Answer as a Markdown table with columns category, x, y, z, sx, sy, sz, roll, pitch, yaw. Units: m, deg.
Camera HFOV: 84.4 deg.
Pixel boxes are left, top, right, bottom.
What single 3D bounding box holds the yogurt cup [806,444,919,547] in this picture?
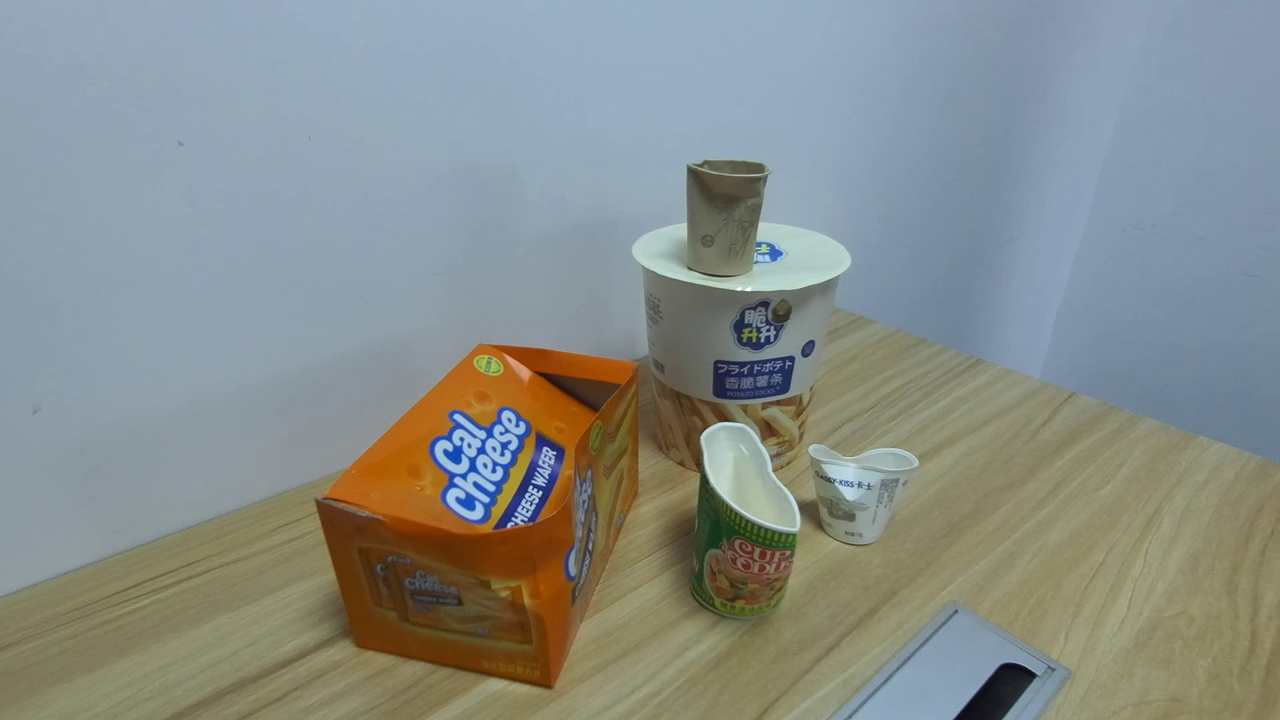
| category | x | y | z | sx | sy | sz | roll | pitch | yaw |
| --- | --- | --- | --- | --- | --- | --- | --- | --- | --- |
| yogurt cup | 0.174 | 0.104 | 0.568 | 0.075 | 0.071 | 0.053 | -8 | 28 | -18 |

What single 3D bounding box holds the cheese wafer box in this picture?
| category | x | y | z | sx | sy | sz | roll | pitch | yaw |
| --- | --- | --- | --- | --- | --- | --- | --- | --- | --- |
| cheese wafer box | -0.095 | 0.100 | 0.520 | 0.152 | 0.132 | 0.230 | 8 | 26 | 12 |

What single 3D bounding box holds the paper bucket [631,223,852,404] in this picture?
| category | x | y | z | sx | sy | sz | roll | pitch | yaw |
| --- | --- | --- | --- | --- | --- | --- | --- | --- | --- |
| paper bucket | 0.087 | -0.011 | 0.659 | 0.198 | 0.195 | 0.198 | 0 | 27 | 0 |

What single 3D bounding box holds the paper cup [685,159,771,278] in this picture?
| category | x | y | z | sx | sy | sz | roll | pitch | yaw |
| --- | --- | --- | --- | --- | --- | --- | --- | --- | --- |
| paper cup | 0.070 | -0.115 | 0.562 | 0.066 | 0.084 | 0.072 | 10 | 24 | 19 |

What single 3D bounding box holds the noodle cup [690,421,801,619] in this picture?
| category | x | y | z | sx | sy | sz | roll | pitch | yaw |
| --- | --- | --- | --- | --- | --- | --- | --- | --- | --- |
| noodle cup | 0.074 | 0.119 | 0.498 | 0.070 | 0.111 | 0.115 | 6 | 26 | 12 |
